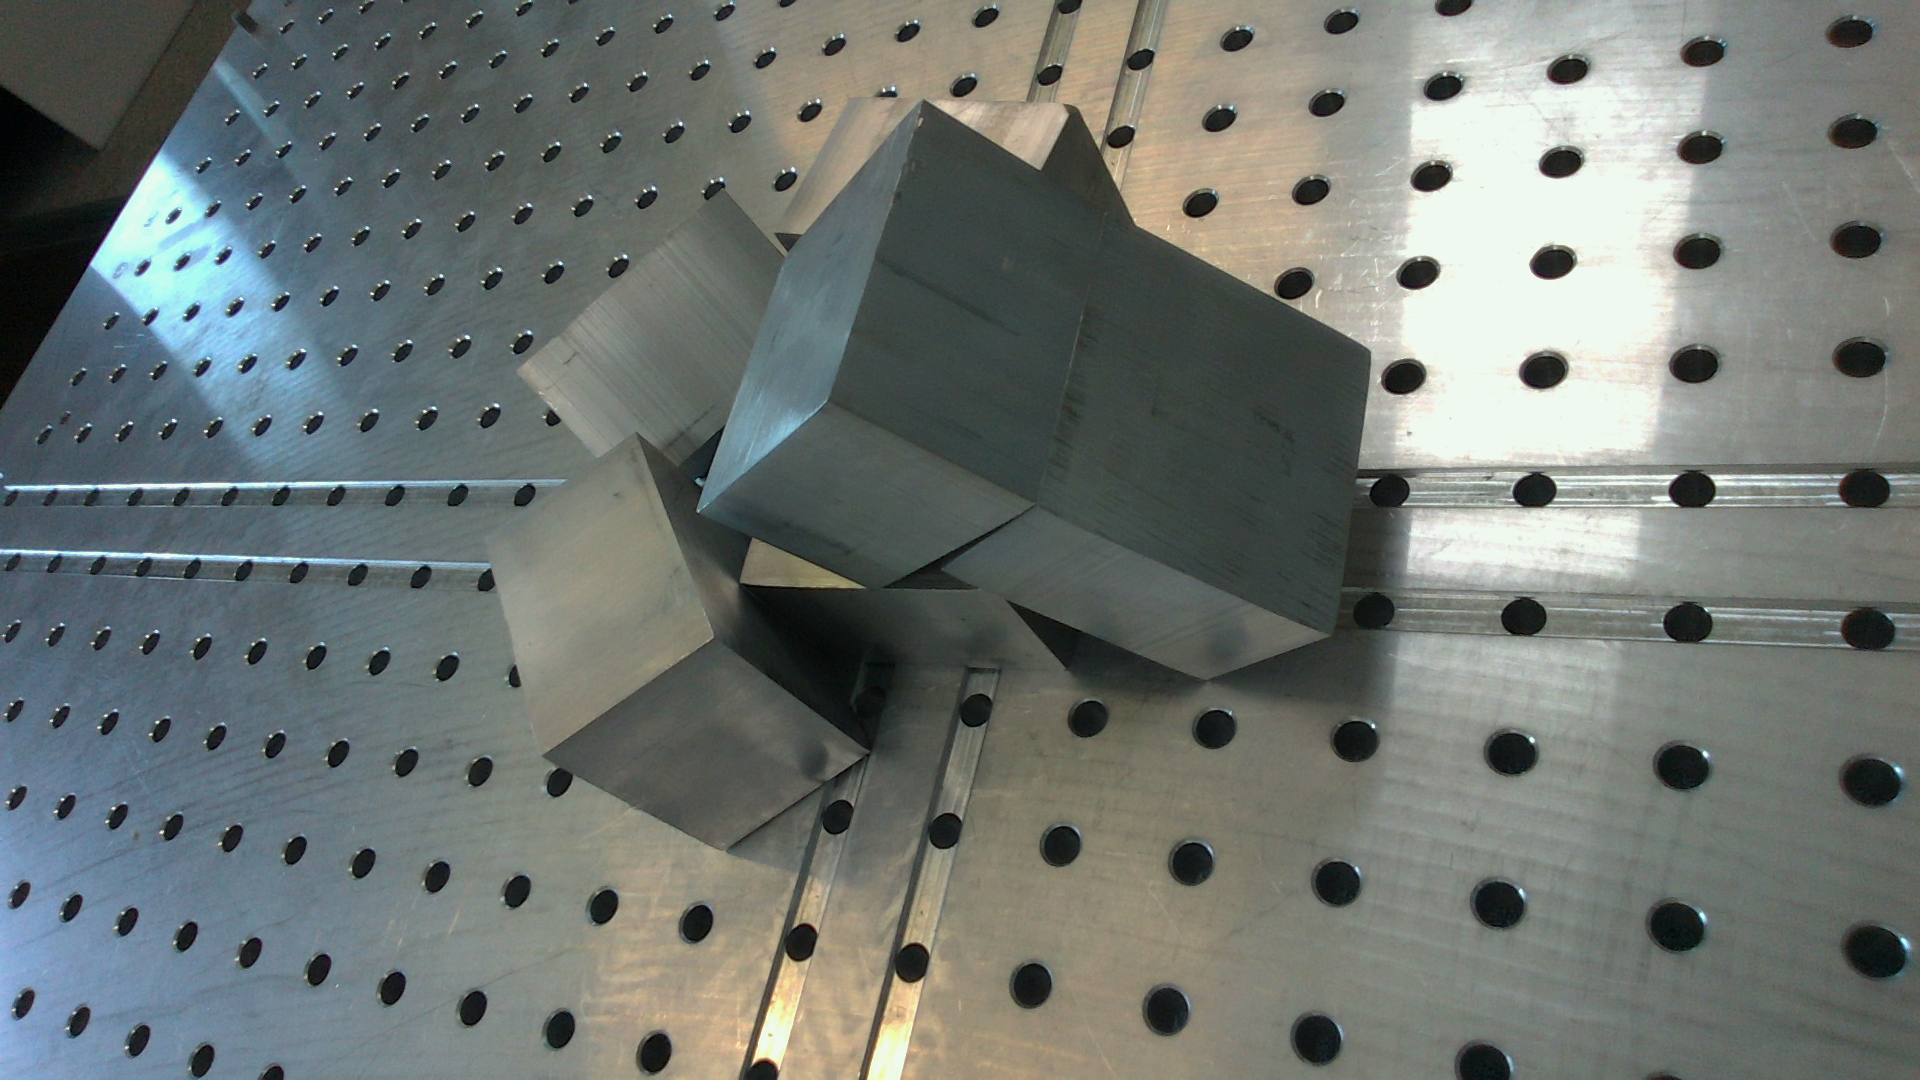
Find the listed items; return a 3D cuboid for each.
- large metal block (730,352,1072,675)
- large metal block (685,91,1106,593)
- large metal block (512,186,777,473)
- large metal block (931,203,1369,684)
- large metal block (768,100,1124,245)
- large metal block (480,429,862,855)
[{"bbox_3d":[-0.008,-0.011,0.391,0.080,0.050,0.080,1,62,29],"label":"large metal block"},{"bbox_3d":[-0.016,-0.042,0.326,0.080,0.050,0.080,-29,40,56],"label":"large metal block"},{"bbox_3d":[-0.083,-0.058,0.434,0.080,0.080,0.050,-42,95,0],"label":"large metal block"},{"bbox_3d":[0.048,-0.021,0.337,0.050,0.080,0.080,-34,37,58],"label":"large metal block"},{"bbox_3d":[0.005,-0.083,0.410,0.080,0.080,0.050,14,69,34],"label":"large metal block"},{"bbox_3d":[-0.080,0.030,0.385,0.050,0.080,0.080,-34,51,5],"label":"large metal block"}]
